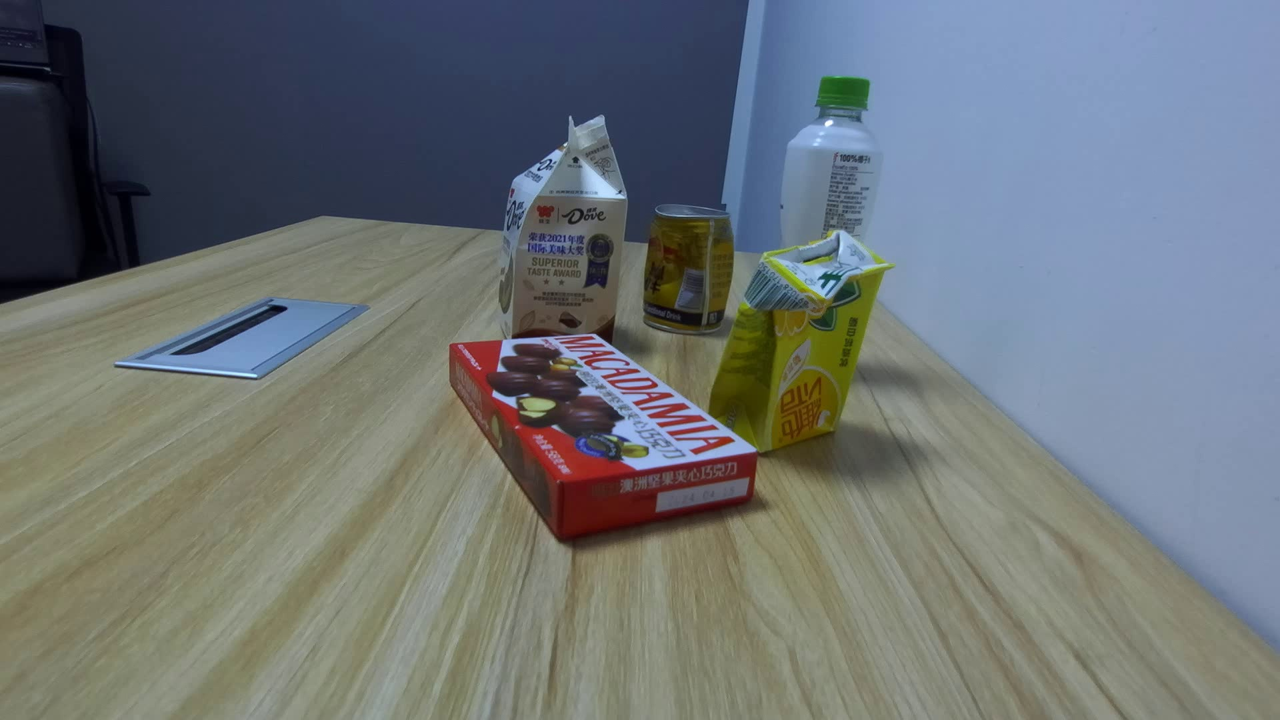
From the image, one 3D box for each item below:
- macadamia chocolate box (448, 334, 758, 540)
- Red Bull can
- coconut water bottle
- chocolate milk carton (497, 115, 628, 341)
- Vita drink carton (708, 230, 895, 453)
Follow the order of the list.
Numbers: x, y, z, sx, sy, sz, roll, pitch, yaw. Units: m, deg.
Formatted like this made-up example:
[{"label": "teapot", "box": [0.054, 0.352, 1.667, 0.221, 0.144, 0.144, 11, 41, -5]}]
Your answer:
[{"label": "macadamia chocolate box", "box": [-0.030, 0.027, 0.361, 0.096, 0.027, 0.177, -5, 23, -28]}, {"label": "Red Bull can", "box": [0.037, -0.069, 0.557, 0.072, 0.092, 0.072, 7, 13, -1]}, {"label": "coconut water bottle", "box": [0.120, -0.084, 0.464, 0.063, 0.188, 0.063, 5, 17, -1]}, {"label": "chocolate milk carton", "box": [-0.054, -0.091, 0.495, 0.074, 0.155, 0.076, 0, 19, -18]}, {"label": "Vita drink carton", "box": [0.083, -0.007, 0.361, 0.087, 0.108, 0.042, -13, 40, -35]}]
